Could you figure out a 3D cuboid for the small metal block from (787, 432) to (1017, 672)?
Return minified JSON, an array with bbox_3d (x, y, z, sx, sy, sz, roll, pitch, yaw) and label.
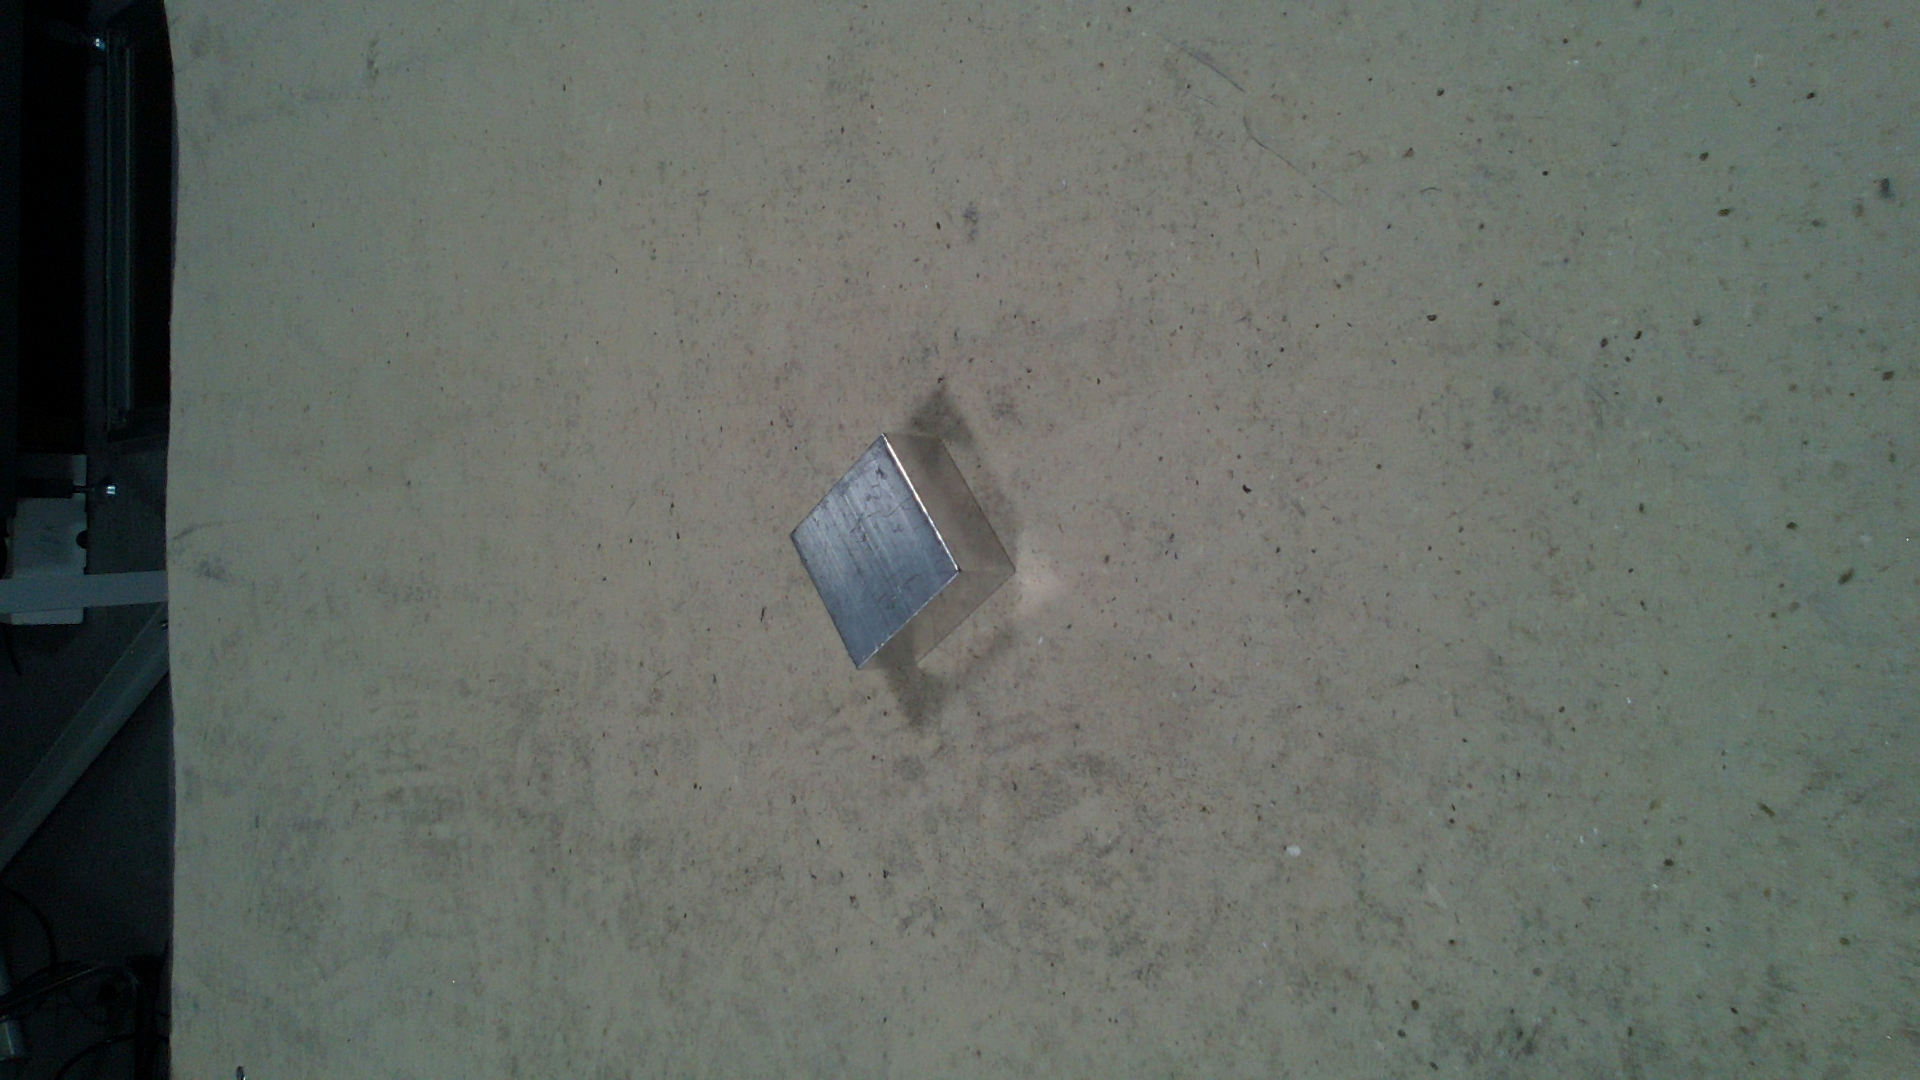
[{"bbox_3d":[-0.018,0.004,0.411,0.050,0.025,0.050,-44,63,31],"label":"small metal block"}]
